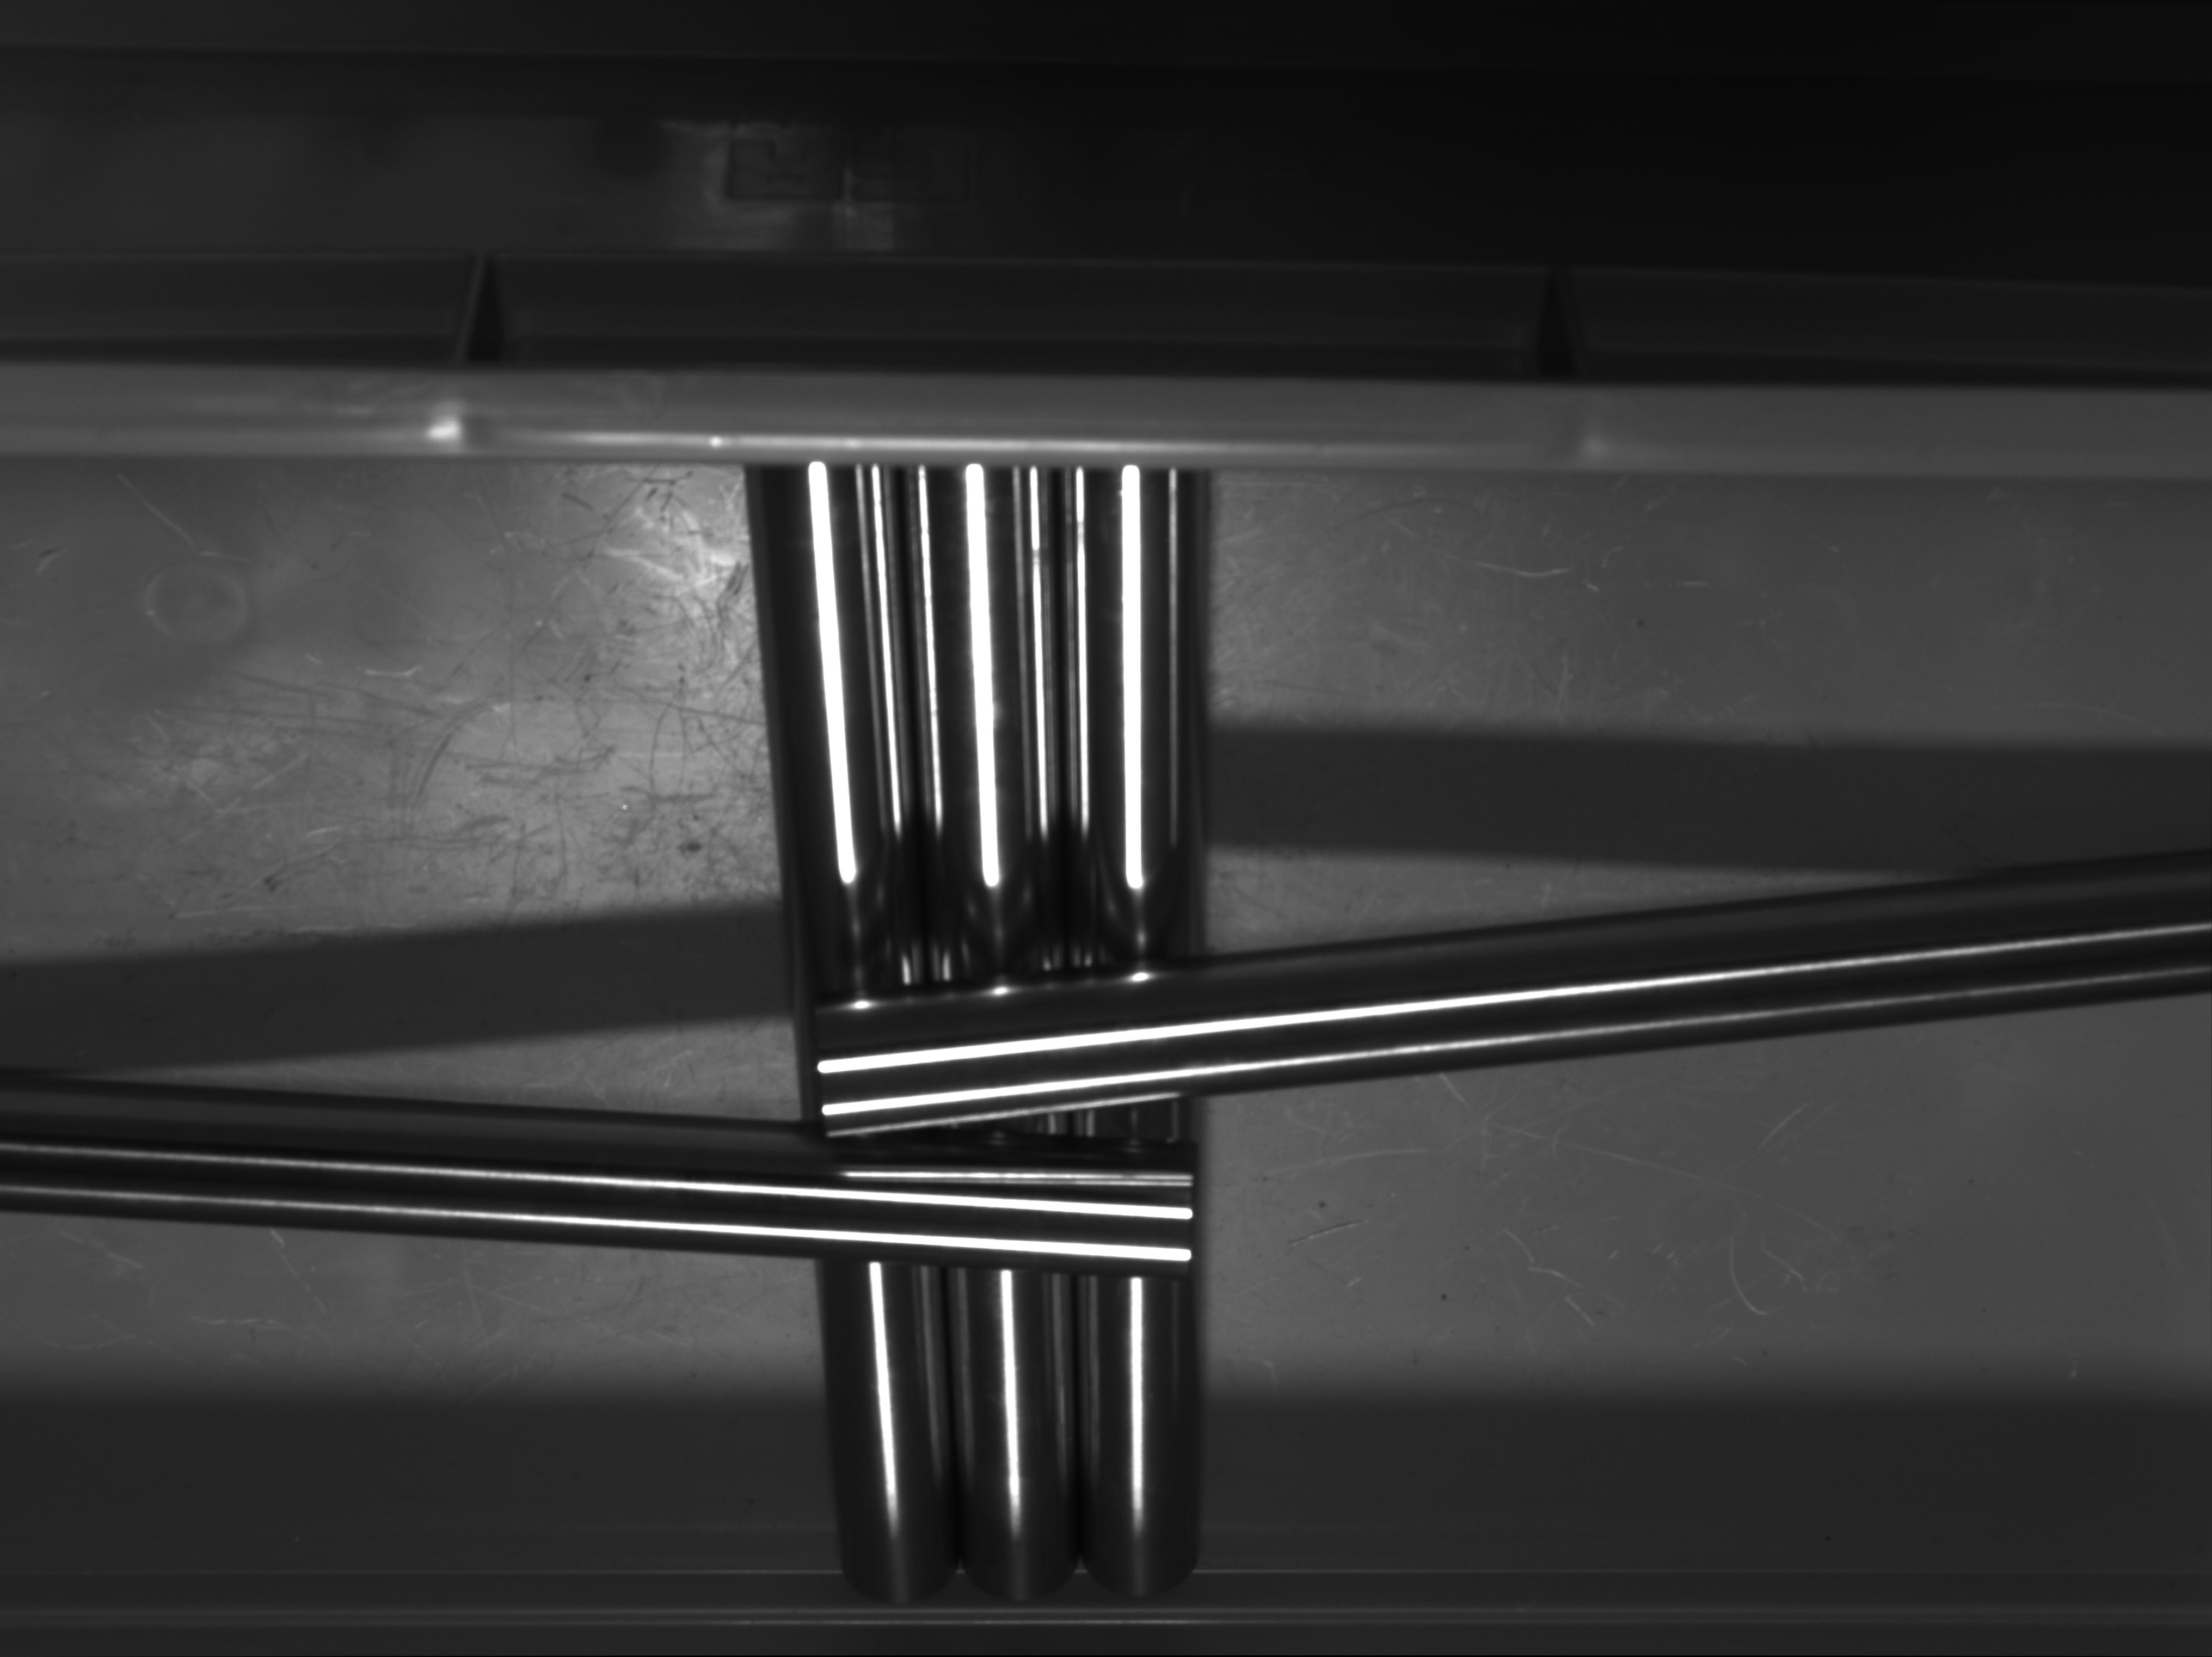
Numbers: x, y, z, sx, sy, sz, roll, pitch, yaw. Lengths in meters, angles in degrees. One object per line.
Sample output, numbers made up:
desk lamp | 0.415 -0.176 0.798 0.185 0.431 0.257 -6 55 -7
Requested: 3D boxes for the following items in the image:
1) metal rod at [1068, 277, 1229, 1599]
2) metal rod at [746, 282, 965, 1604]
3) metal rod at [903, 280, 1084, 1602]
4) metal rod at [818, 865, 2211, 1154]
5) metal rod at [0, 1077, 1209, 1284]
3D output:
metal rod | 0.008 0.036 0.667 0.025 0.025 0.300 -1 130 -1
metal rod | -0.042 0.037 0.666 0.025 0.025 0.300 -1 130 -1
metal rod | -0.018 0.036 0.667 0.025 0.025 0.300 -1 130 -1
metal rod | 0.100 0.029 0.642 0.300 0.025 0.025 -6 130 -5
metal rod | -0.132 0.061 0.663 0.300 0.025 0.025 3 130 4
